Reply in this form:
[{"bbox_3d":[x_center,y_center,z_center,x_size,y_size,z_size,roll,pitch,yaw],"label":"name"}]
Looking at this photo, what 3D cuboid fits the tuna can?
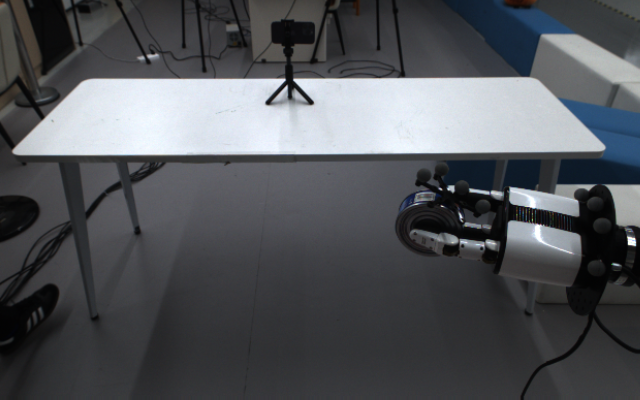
[{"bbox_3d":[0.142,0.029,0.621,0.085,0.085,0.034,12,35,14],"label":"tuna can"}]
